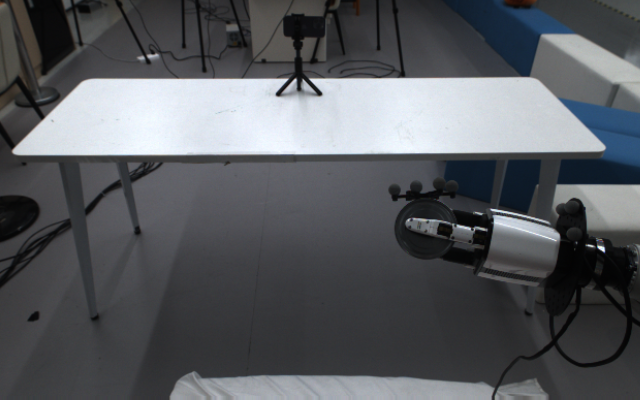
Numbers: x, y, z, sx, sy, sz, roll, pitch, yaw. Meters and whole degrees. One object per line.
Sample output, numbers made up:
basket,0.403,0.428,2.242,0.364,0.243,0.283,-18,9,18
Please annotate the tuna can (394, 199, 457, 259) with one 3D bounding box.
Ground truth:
tuna can,0.149,0.039,0.678,0.085,0.085,0.034,11,-9,13
